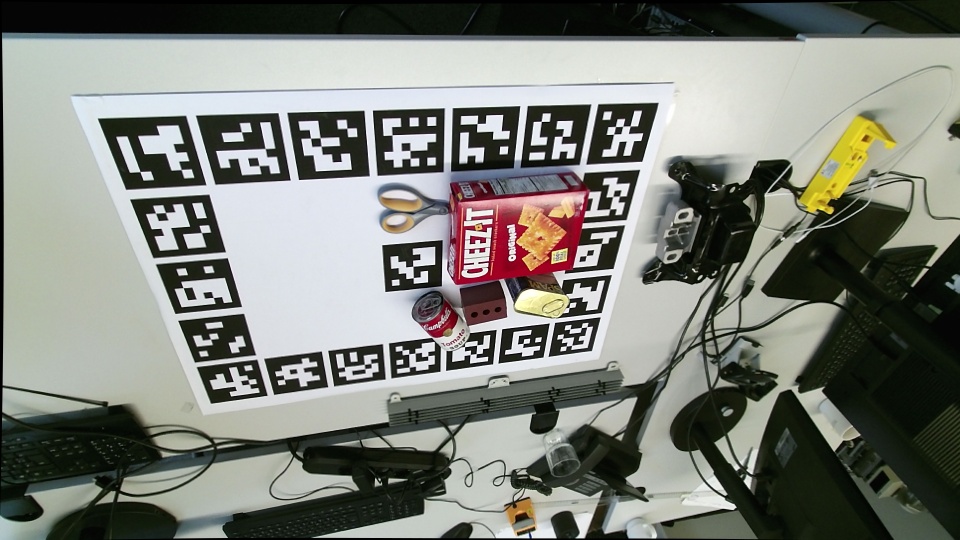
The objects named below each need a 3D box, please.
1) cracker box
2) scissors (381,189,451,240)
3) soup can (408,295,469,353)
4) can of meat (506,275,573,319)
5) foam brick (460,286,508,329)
[{"bbox_3d":[0.065,-0.062,0.883,0.214,0.071,0.164,-12,127,-13],"label":"cracker box"},{"bbox_3d":[-0.052,-0.098,0.861,0.203,0.016,0.088,-9,126,-11],"label":"scissors"},{"bbox_3d":[-0.074,0.101,0.986,0.068,0.067,0.102,-36,132,9],"label":"soup can"},{"bbox_3d":[0.106,0.046,0.979,0.102,0.083,0.058,7,121,-21],"label":"can of meat"},{"bbox_3d":[0.007,0.070,0.990,0.078,0.051,0.053,-14,126,-7],"label":"foam brick"}]
